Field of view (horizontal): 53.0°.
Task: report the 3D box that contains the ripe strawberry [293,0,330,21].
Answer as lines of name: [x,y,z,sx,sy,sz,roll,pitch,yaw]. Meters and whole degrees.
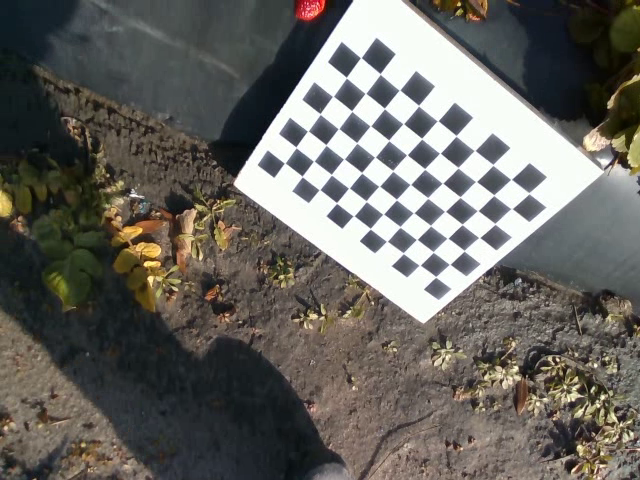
ripe strawberry: [-0.007,-0.193,0.532,0.034,0.038,0.033,35,-19,-8]
